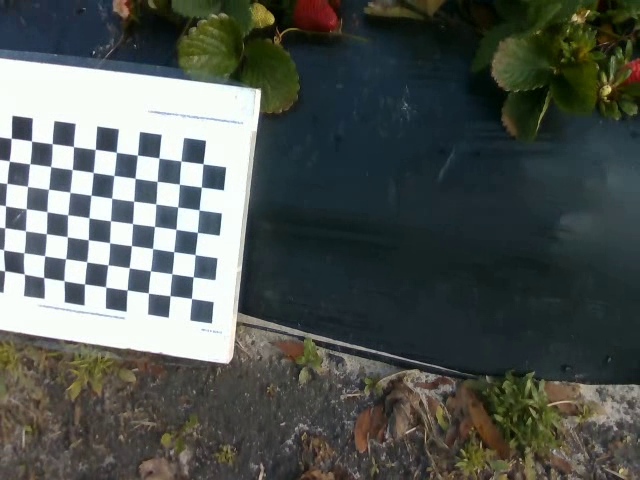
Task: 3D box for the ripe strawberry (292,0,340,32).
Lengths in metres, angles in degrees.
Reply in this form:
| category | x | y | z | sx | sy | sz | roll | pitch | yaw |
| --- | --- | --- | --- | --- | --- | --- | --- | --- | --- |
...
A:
| category | x | y | z | sx | sy | sz | roll | pitch | yaw |
| --- | --- | --- | --- | --- | --- | --- | --- | --- | --- |
| ripe strawberry | -0.004 | -0.220 | 0.551 | 0.064 | 0.051 | 0.043 | 40 | 10 | 0 |
